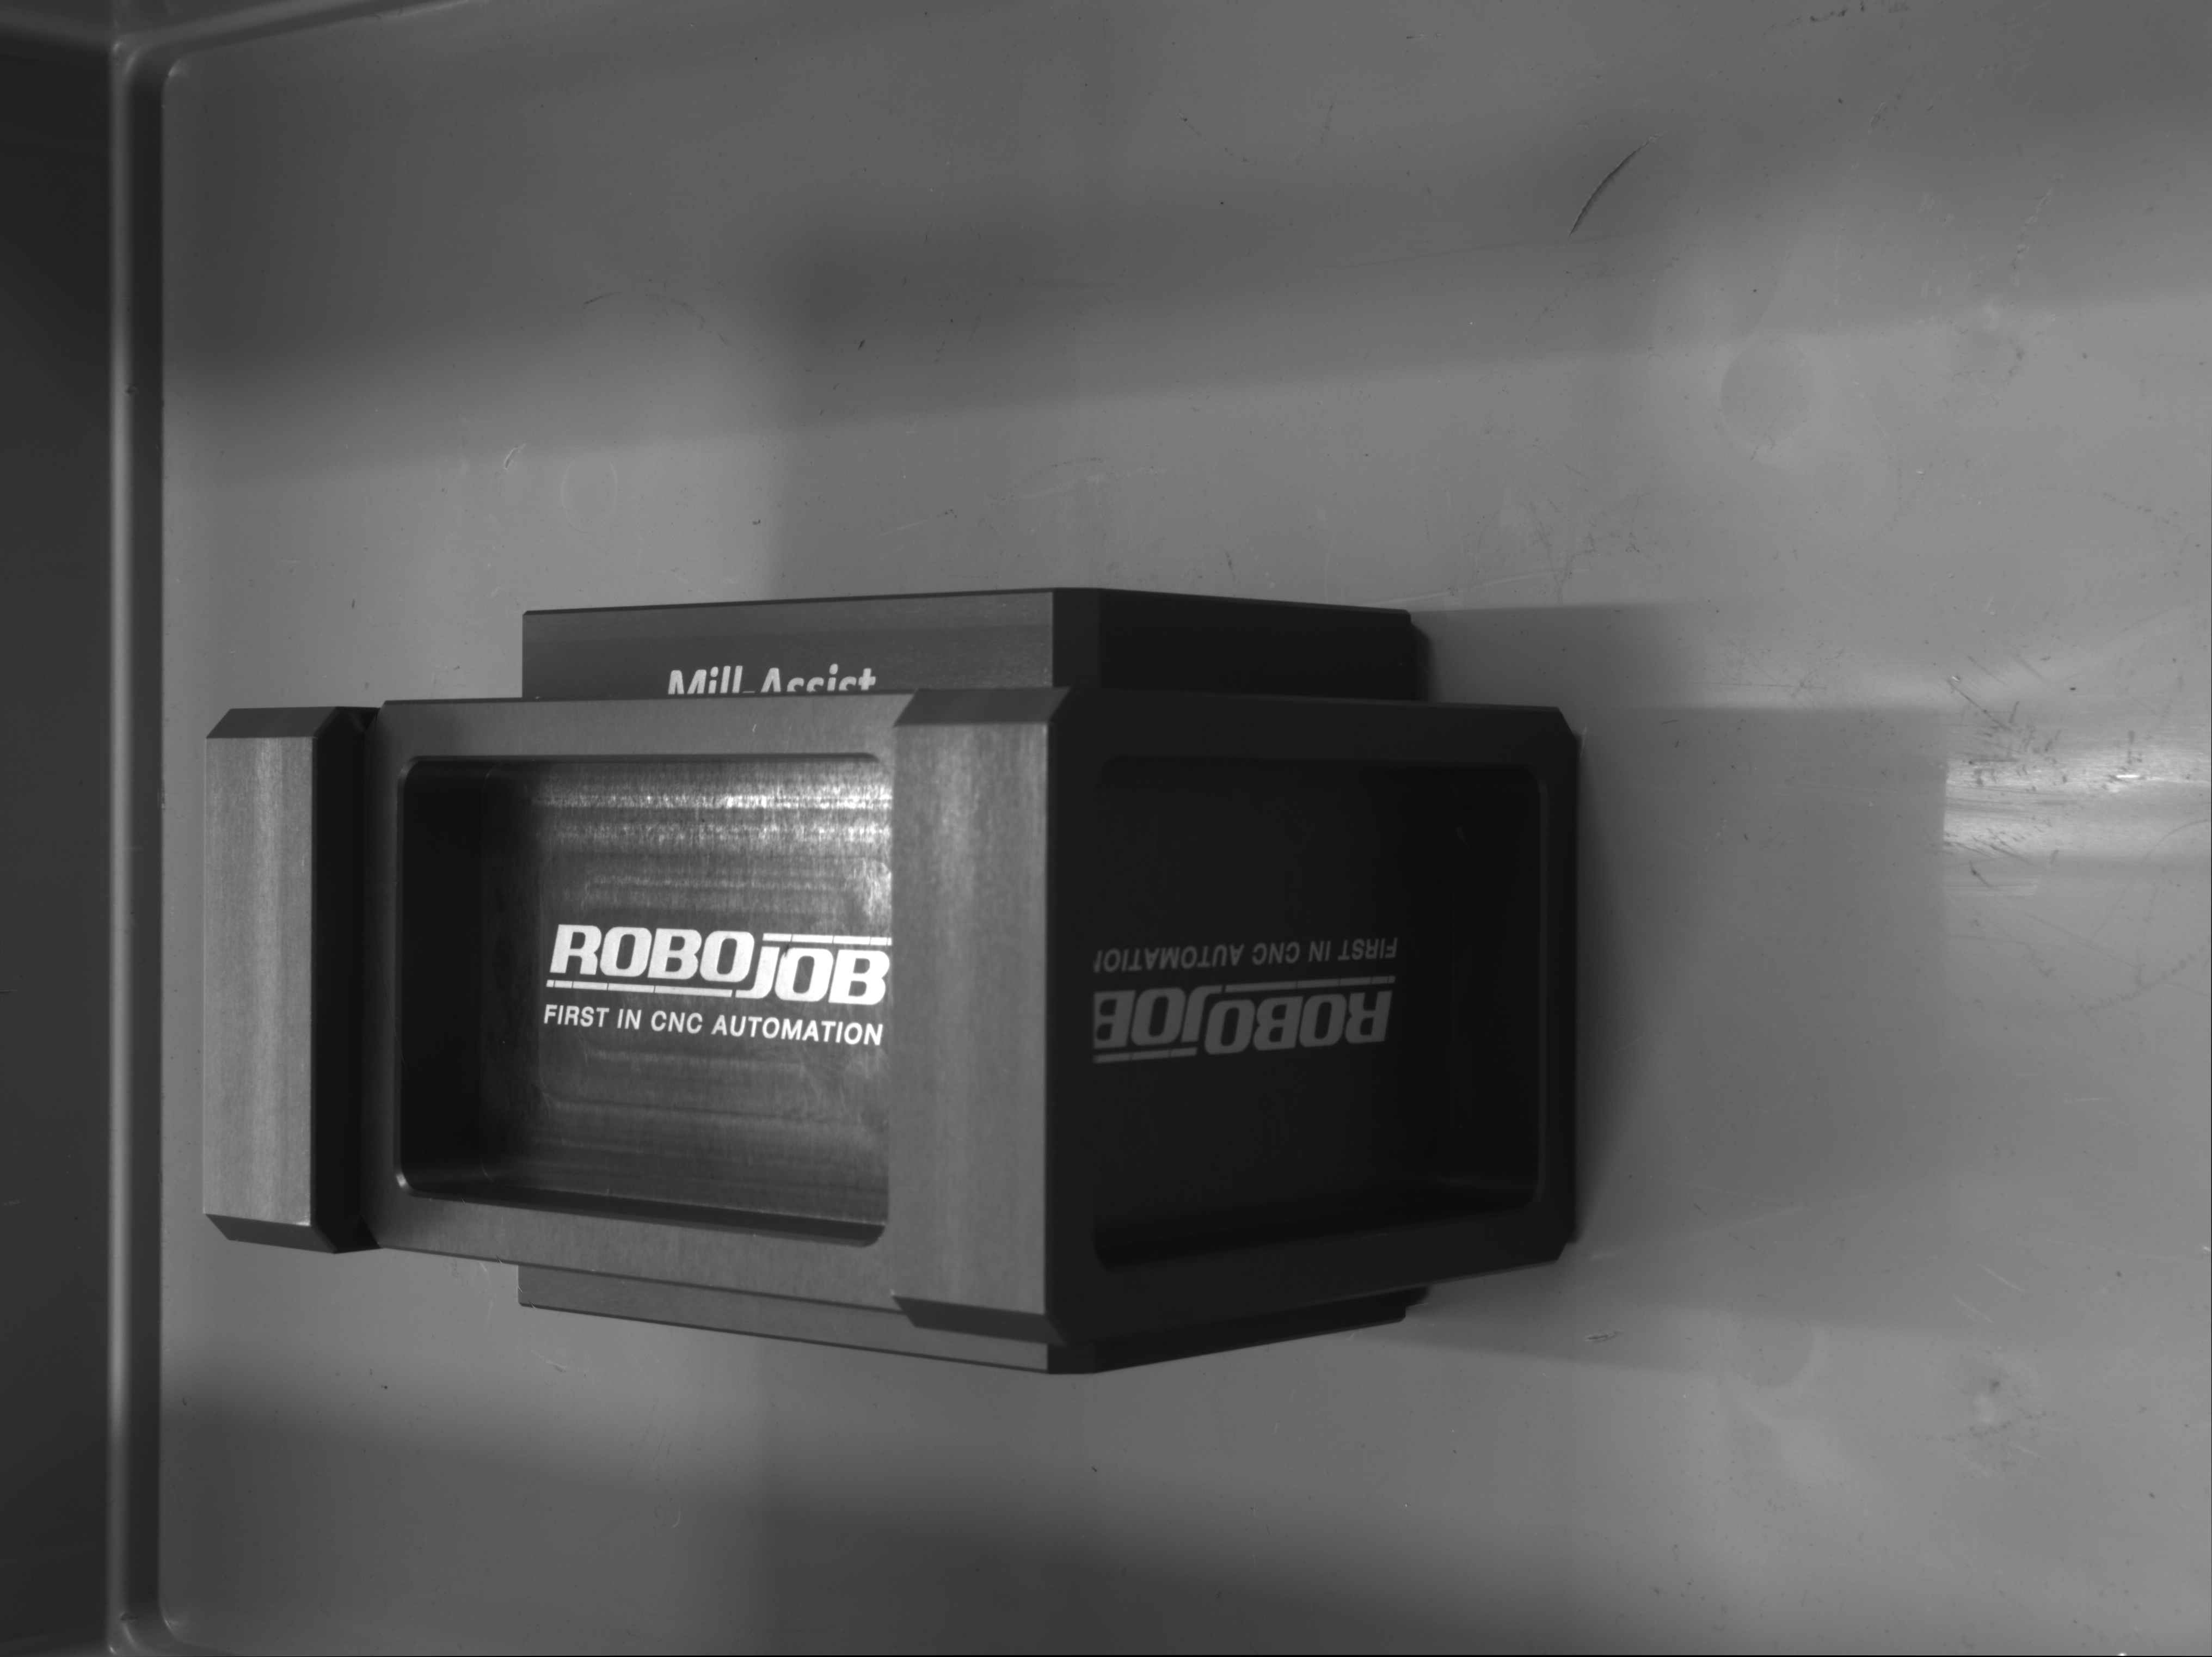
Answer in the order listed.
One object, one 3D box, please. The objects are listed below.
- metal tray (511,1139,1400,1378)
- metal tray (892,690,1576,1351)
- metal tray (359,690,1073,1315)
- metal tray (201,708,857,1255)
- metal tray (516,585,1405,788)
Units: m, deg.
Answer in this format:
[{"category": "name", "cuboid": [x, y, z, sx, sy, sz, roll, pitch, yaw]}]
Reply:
[{"category": "metal tray", "cuboid": [-0.026, 0.068, 0.621, 0.129, 0.090, 0.030, 0, 89, 40]}, {"category": "metal tray", "cuboid": [0.023, 0.026, 0.554, 0.030, 0.131, 0.090, 1, 91, 40]}, {"category": "metal tray", "cuboid": [-0.064, 0.025, 0.576, 0.129, 0.030, 0.090, 1, 90, 40]}, {"category": "metal tray", "cuboid": [-0.100, 0.025, 0.659, 0.030, 0.131, 0.090, 1, 91, 40]}, {"category": "metal tray", "cuboid": [-0.026, -0.022, 0.621, 0.129, 0.090, 0.030, 0, 91, 41]}]
